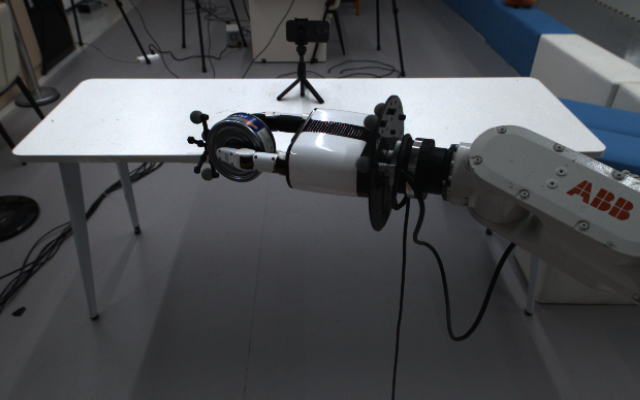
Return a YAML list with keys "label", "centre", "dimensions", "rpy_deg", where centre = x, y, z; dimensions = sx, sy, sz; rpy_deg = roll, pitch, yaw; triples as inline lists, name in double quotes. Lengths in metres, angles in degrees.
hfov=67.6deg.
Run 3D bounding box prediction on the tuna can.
- label: "tuna can"
  centre: [-0.101, -0.069, 0.626]
  dimensions: [0.085, 0.085, 0.034]
  rpy_deg: [12, 28, 14]
